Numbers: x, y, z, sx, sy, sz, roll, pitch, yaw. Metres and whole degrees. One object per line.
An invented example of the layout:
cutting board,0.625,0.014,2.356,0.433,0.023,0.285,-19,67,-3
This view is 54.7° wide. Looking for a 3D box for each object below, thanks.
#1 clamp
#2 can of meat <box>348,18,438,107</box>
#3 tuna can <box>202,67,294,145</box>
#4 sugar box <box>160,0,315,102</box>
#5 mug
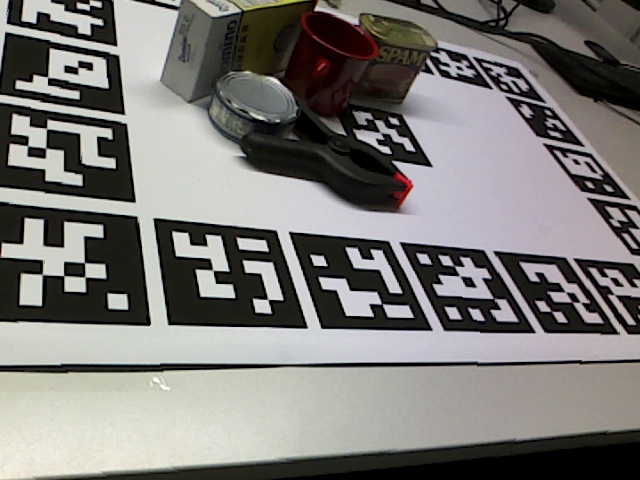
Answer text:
clamp,0.009,-0.079,0.608,0.165,0.036,0.122,33,35,-2
can of meat,0.079,-0.215,0.760,0.101,0.084,0.058,0,46,-33
tuna can,-0.071,-0.130,0.606,0.085,0.034,0.086,16,43,-16
sugar box,-0.081,-0.209,0.649,0.045,0.093,0.176,39,39,14
mug,0.006,-0.191,0.678,0.093,0.081,0.117,24,41,-8
